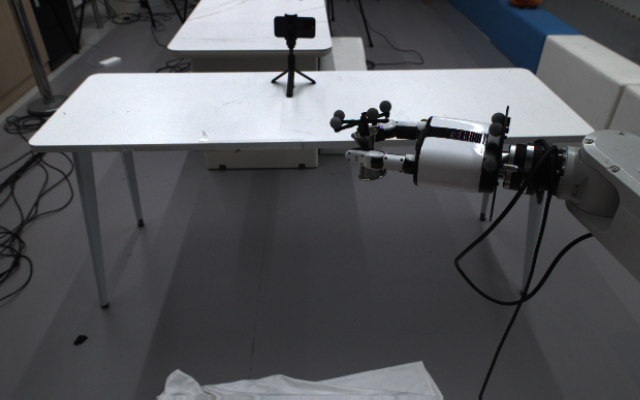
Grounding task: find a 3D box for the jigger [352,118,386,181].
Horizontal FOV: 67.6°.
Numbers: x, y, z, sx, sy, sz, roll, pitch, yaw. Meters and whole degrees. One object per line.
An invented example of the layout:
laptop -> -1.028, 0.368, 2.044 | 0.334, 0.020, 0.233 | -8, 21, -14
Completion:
jigger -> 0.072, -0.070, 0.724 | 0.043, 0.071, 0.043 | -11, 24, 5
